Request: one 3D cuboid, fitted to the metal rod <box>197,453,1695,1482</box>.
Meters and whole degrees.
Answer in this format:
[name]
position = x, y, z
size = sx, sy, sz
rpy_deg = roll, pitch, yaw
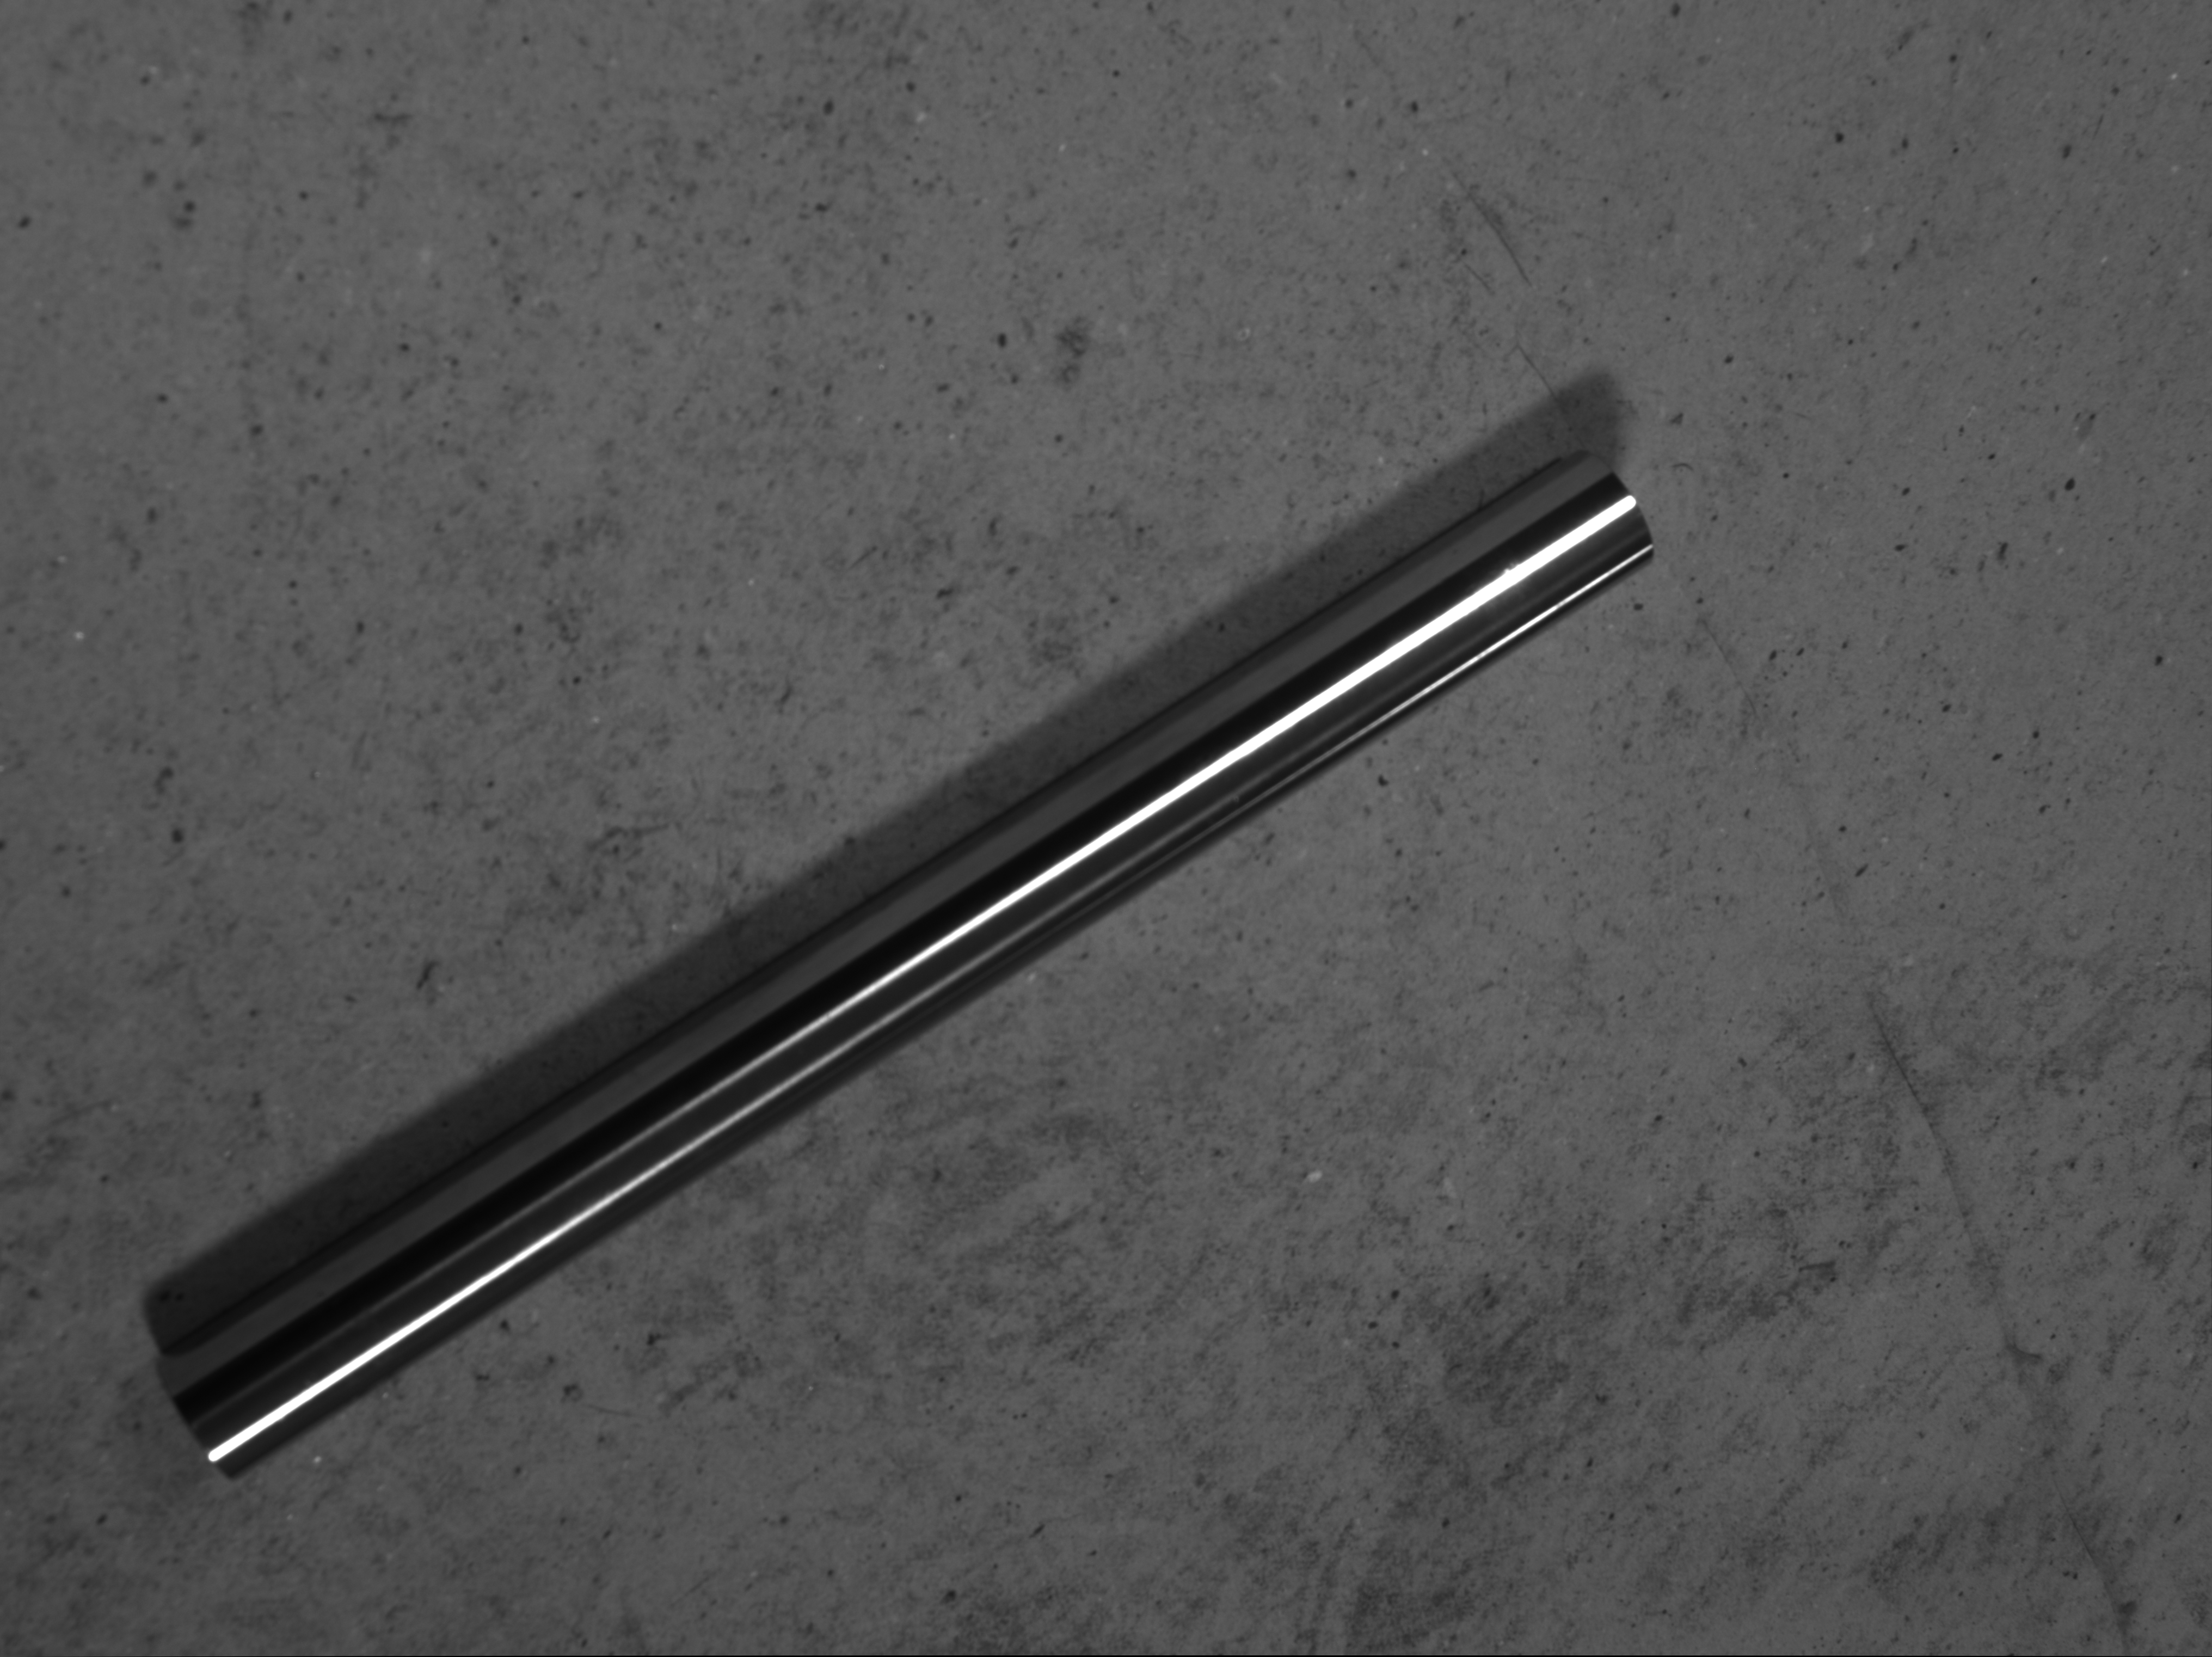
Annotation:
[metal rod]
position = -0.024, 0.022, 0.651
size = 0.300, 0.025, 0.025
rpy_deg = -33, 130, -9
